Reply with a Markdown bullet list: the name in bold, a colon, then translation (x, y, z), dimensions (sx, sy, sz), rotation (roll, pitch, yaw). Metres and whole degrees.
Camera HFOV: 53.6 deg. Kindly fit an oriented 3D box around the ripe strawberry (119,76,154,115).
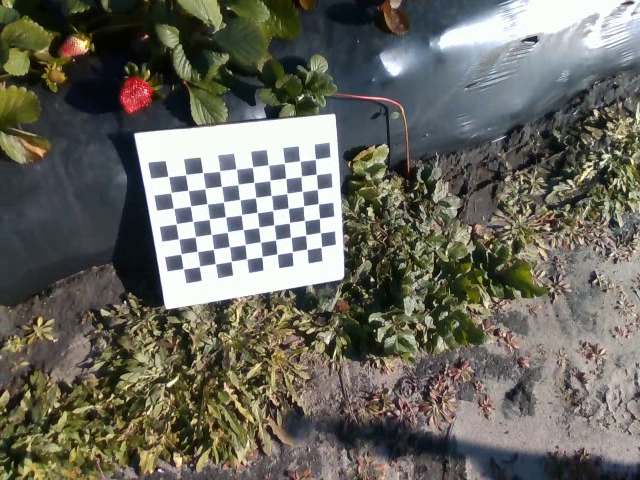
- **ripe strawberry**: translation (-0.250, -0.201, 0.844), dimensions (0.065, 0.062, 0.058), rotation (36, -60, -23)
